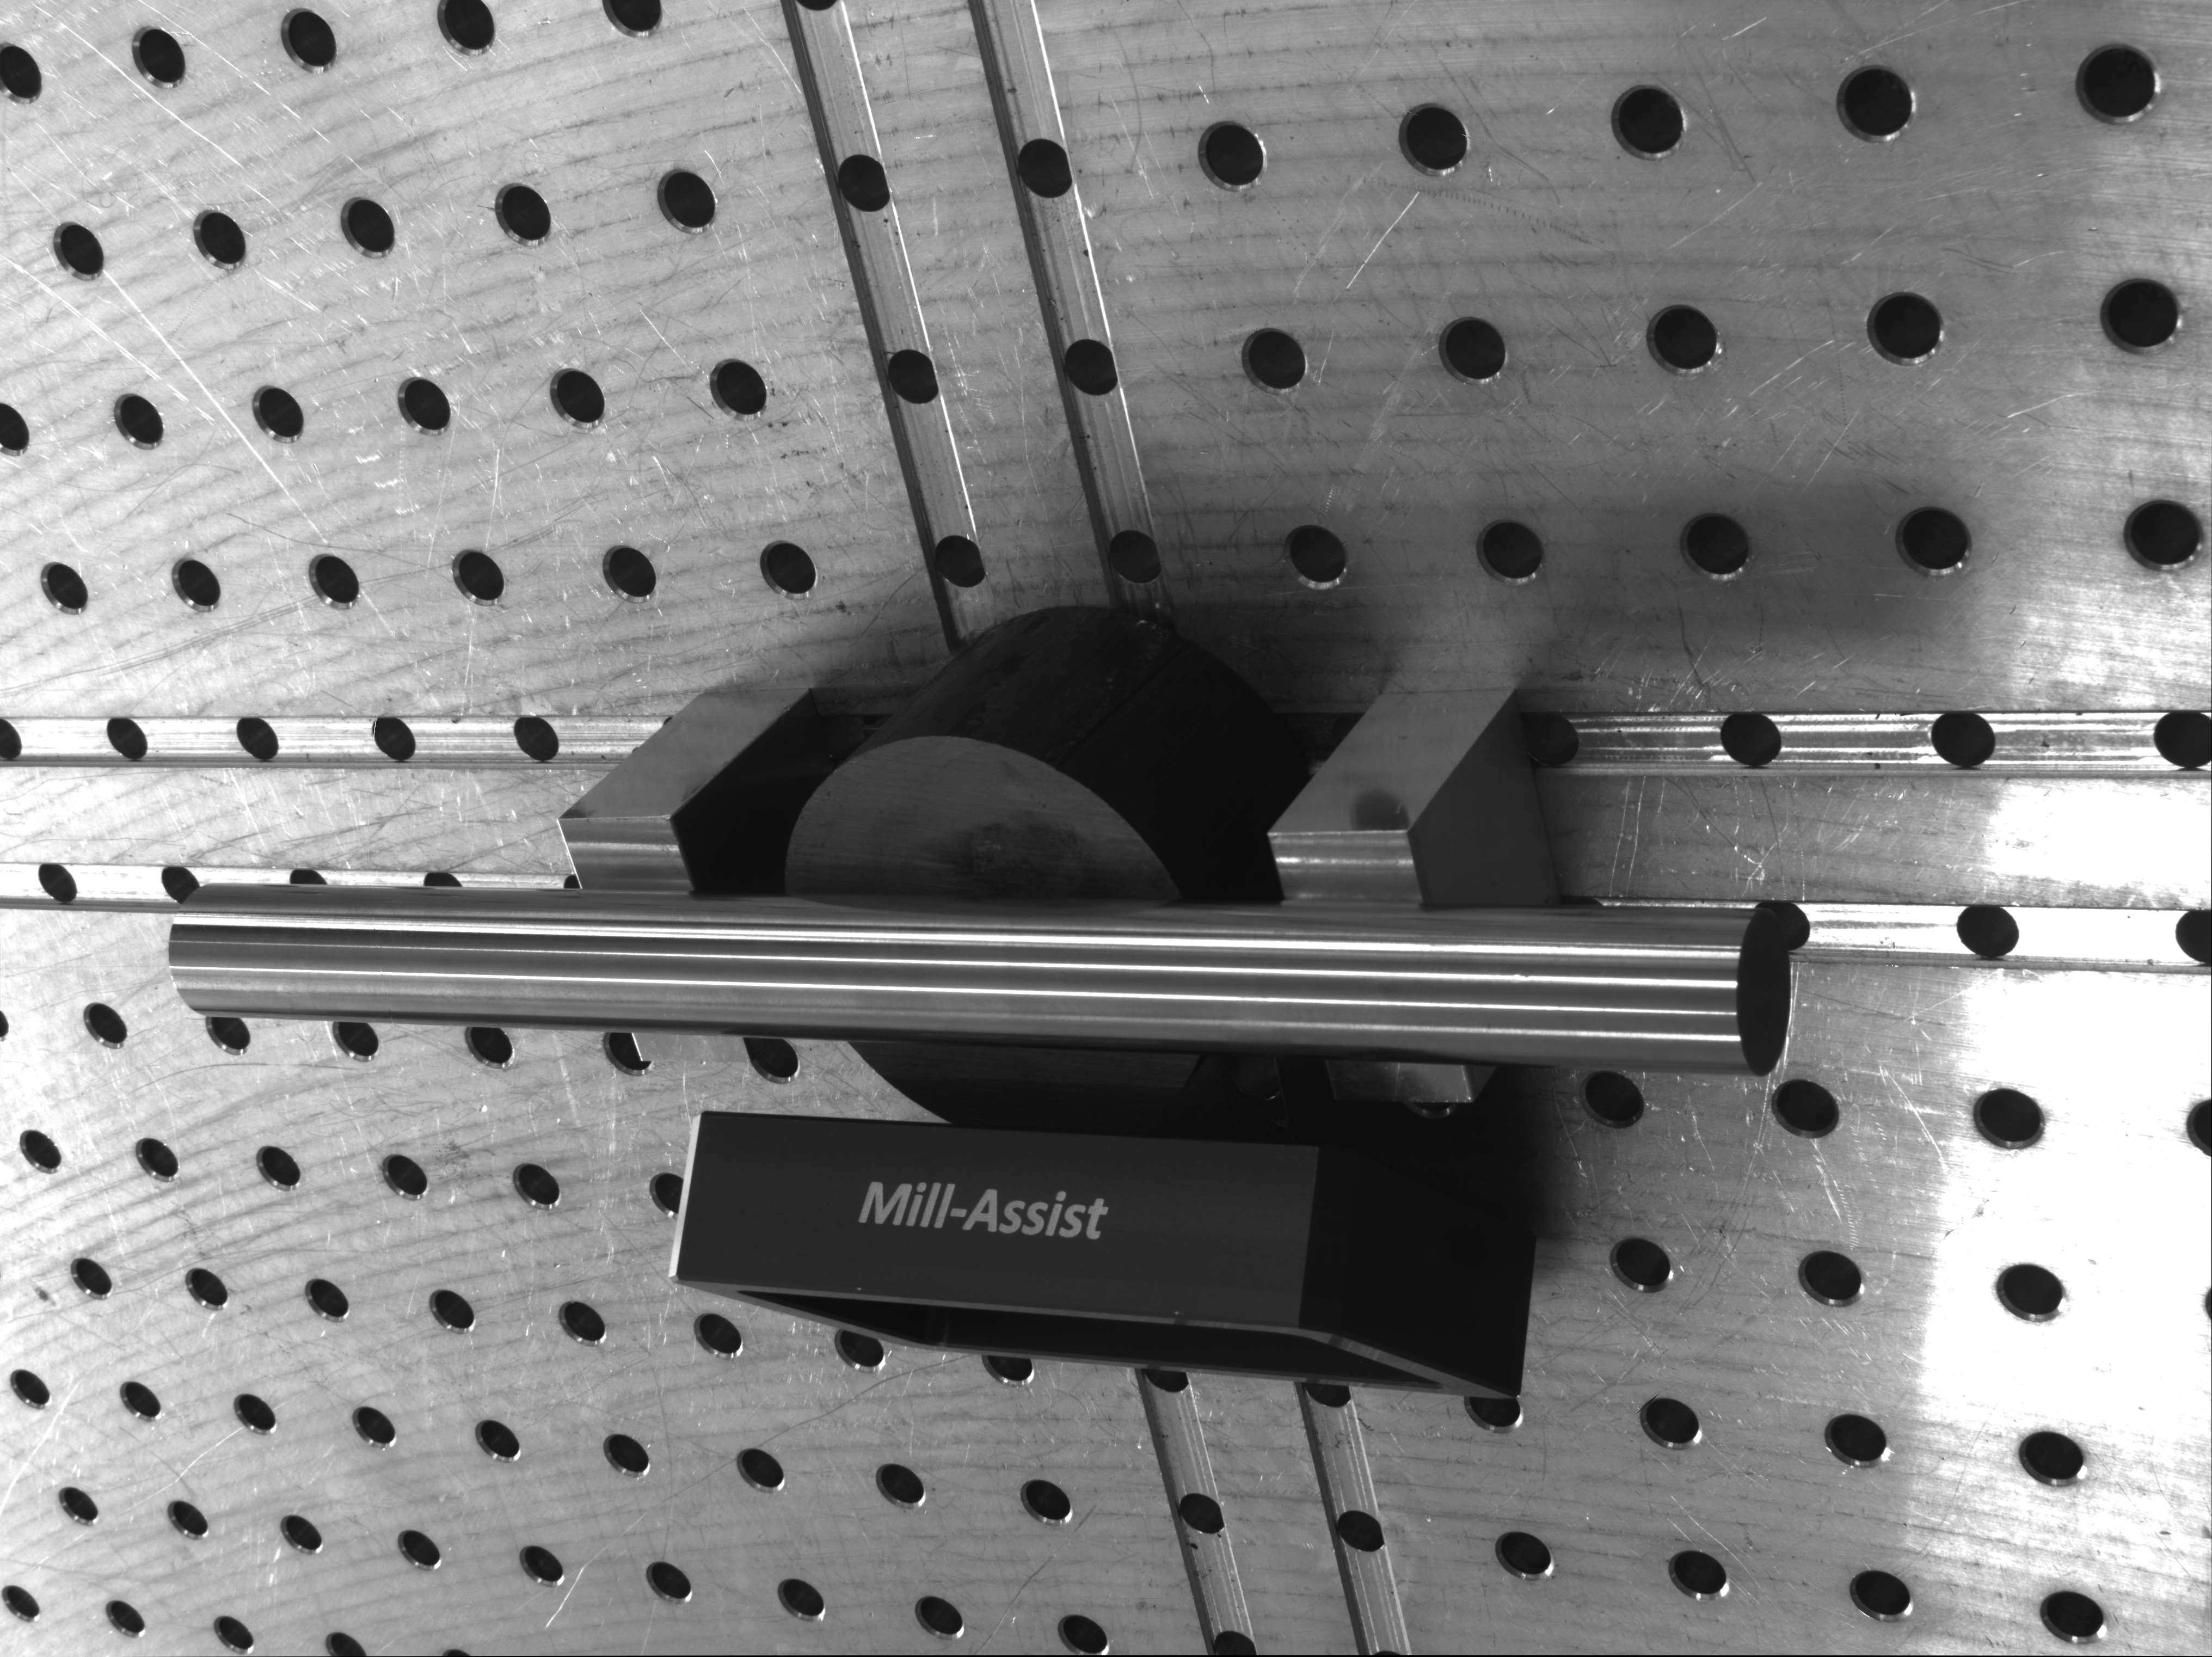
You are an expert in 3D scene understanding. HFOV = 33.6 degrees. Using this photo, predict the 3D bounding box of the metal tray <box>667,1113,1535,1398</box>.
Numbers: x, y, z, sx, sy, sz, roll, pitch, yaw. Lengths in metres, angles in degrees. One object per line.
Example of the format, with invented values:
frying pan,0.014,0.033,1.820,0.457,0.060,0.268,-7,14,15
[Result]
metal tray,0.000,0.076,0.653,0.130,0.090,0.030,0,75,28

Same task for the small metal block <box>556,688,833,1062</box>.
small metal block,-0.070,0.008,0.672,0.025,0.050,0.050,-1,118,29

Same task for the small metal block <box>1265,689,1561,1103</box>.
small metal block,0.053,0.011,0.608,0.025,0.050,0.050,-1,118,29

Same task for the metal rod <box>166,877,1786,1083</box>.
metal rod,-0.035,0.023,0.614,0.299,0.025,0.025,1,119,28

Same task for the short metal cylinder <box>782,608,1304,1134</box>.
short metal cylinder,-0.009,0.008,0.639,0.080,0.050,0.080,13,124,21
